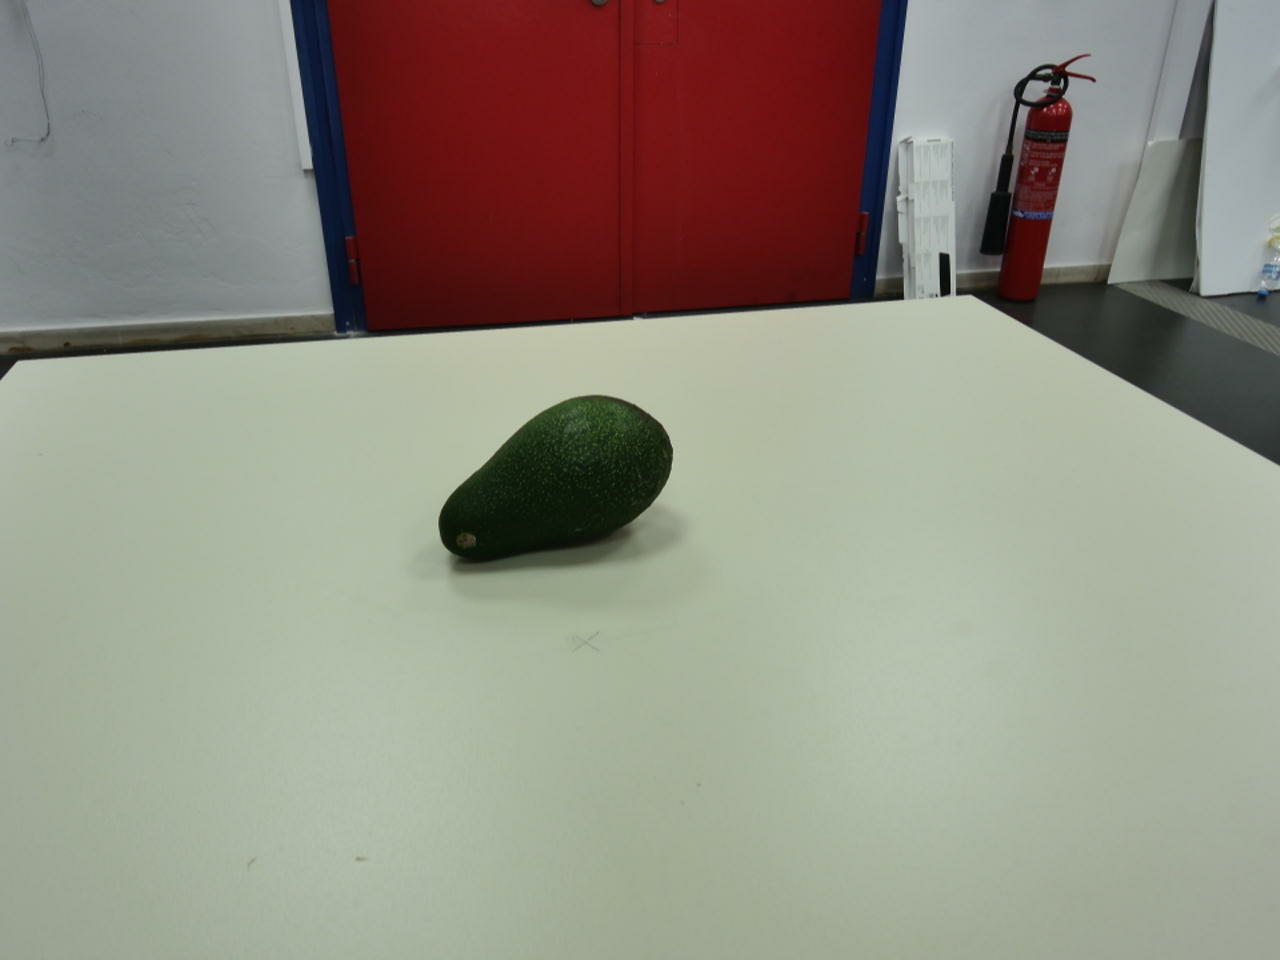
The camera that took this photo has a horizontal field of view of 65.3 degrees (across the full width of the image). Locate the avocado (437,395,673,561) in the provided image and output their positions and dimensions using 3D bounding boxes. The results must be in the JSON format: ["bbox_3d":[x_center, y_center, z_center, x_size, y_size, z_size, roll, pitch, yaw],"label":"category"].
[{"bbox_3d":[-0.044,-0.005,0.519,0.123,0.076,0.074,-3,26,-6],"label":"avocado"}]
